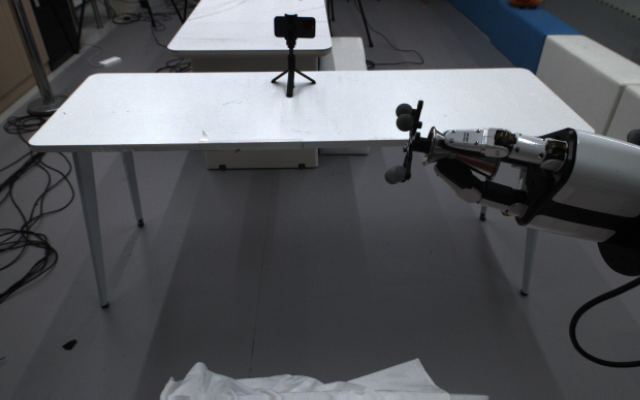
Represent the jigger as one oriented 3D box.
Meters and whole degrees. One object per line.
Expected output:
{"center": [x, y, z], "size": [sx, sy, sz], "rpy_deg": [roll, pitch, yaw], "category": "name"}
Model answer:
{"center": [0.149, -0.050, 0.488], "size": [0.071, 0.043, 0.043], "rpy_deg": [11, 35, 2], "category": "jigger"}
